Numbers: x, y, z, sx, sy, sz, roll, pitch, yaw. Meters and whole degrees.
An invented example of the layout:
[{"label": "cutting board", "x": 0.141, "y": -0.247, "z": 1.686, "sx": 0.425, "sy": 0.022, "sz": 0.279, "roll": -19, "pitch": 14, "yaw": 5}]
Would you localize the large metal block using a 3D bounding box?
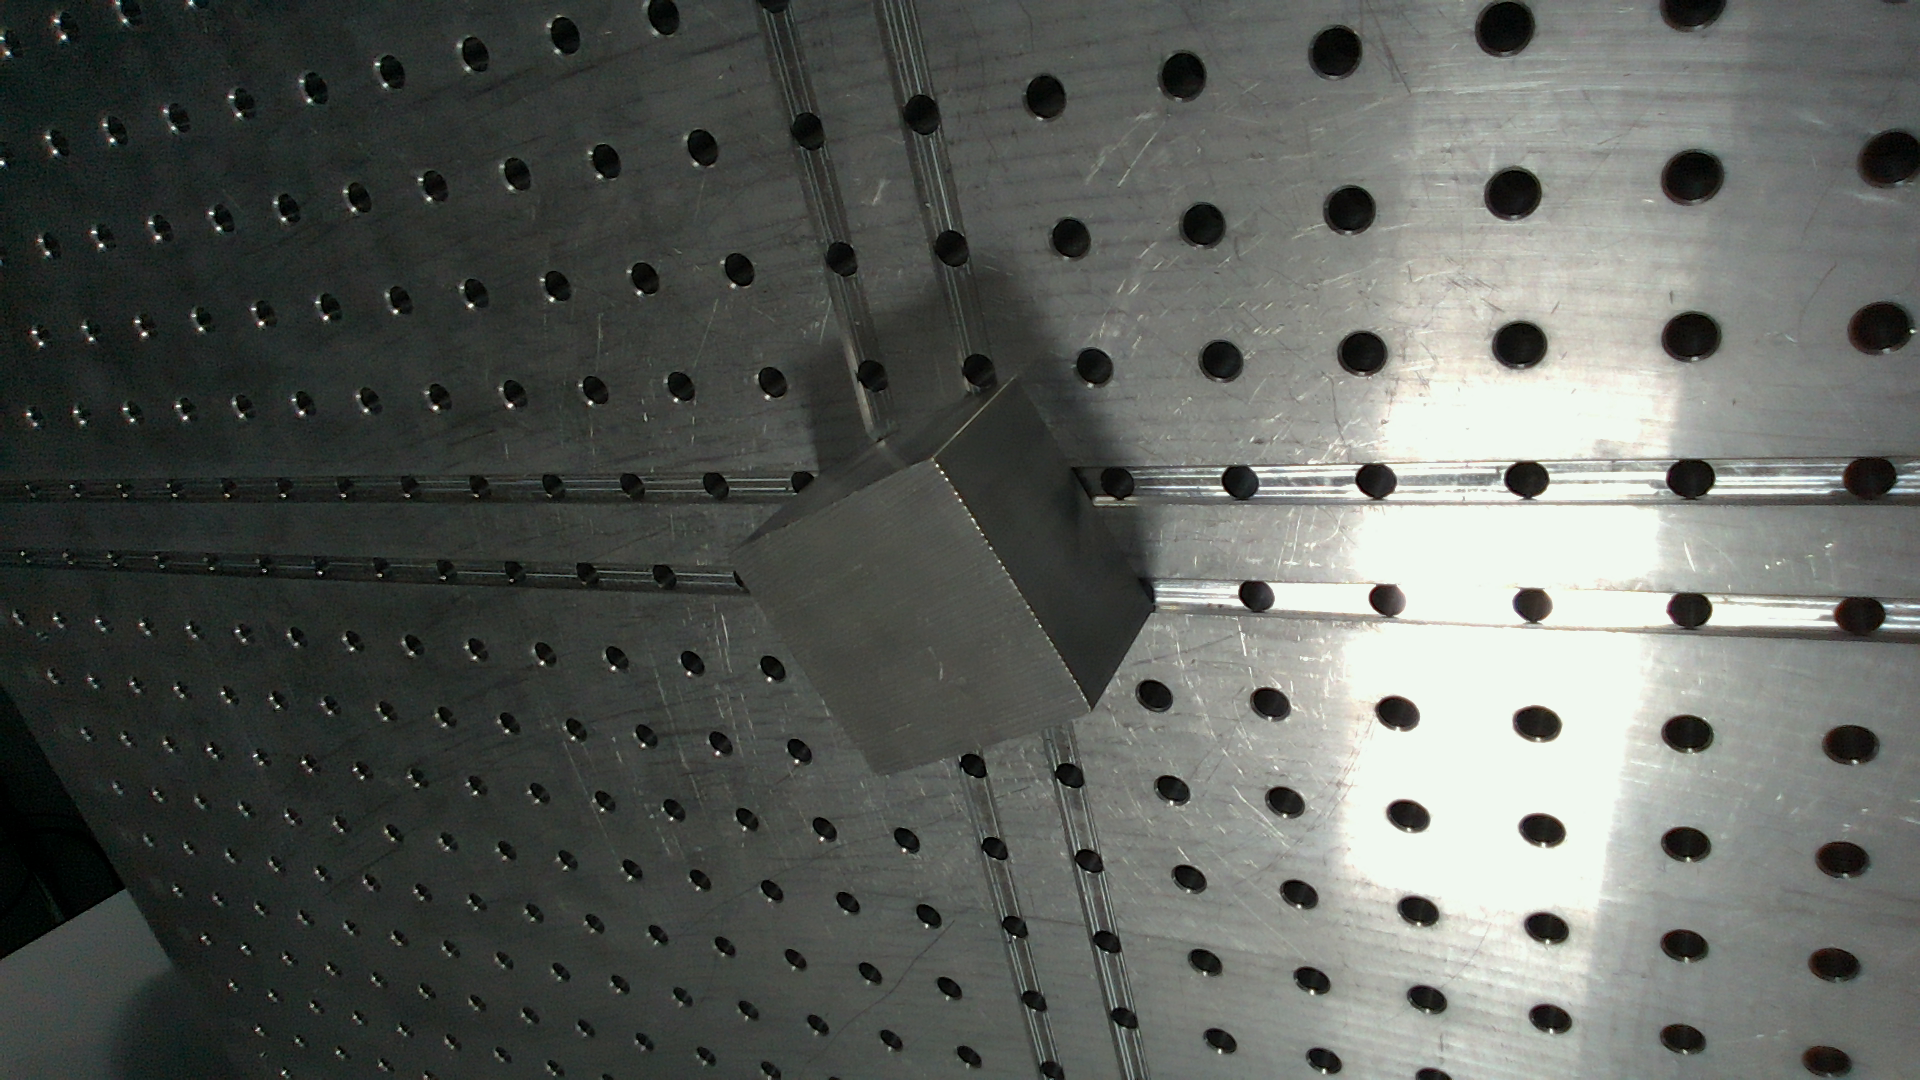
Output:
[{"label": "large metal block", "x": -0.004, "y": 0.013, "z": 0.387, "sx": 0.080, "sy": 0.050, "sz": 0.080, "roll": -23, "pitch": 106, "yaw": 36}]
